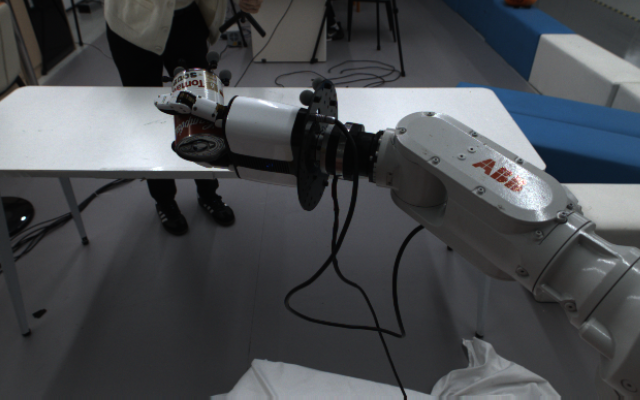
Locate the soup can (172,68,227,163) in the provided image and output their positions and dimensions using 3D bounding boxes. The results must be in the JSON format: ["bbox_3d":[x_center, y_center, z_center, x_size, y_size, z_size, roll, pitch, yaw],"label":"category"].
[{"bbox_3d":[-0.156,-0.108,0.629,0.067,0.067,0.101,-6,68,-12],"label":"soup can"}]
